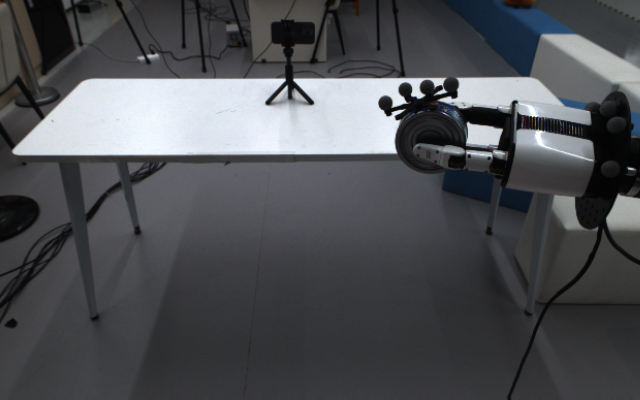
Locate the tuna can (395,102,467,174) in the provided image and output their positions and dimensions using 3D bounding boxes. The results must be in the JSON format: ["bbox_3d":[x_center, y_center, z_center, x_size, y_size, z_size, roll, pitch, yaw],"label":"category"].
[{"bbox_3d":[0.138,-0.078,0.595,0.085,0.085,0.034,11,34,13],"label":"tuna can"}]
